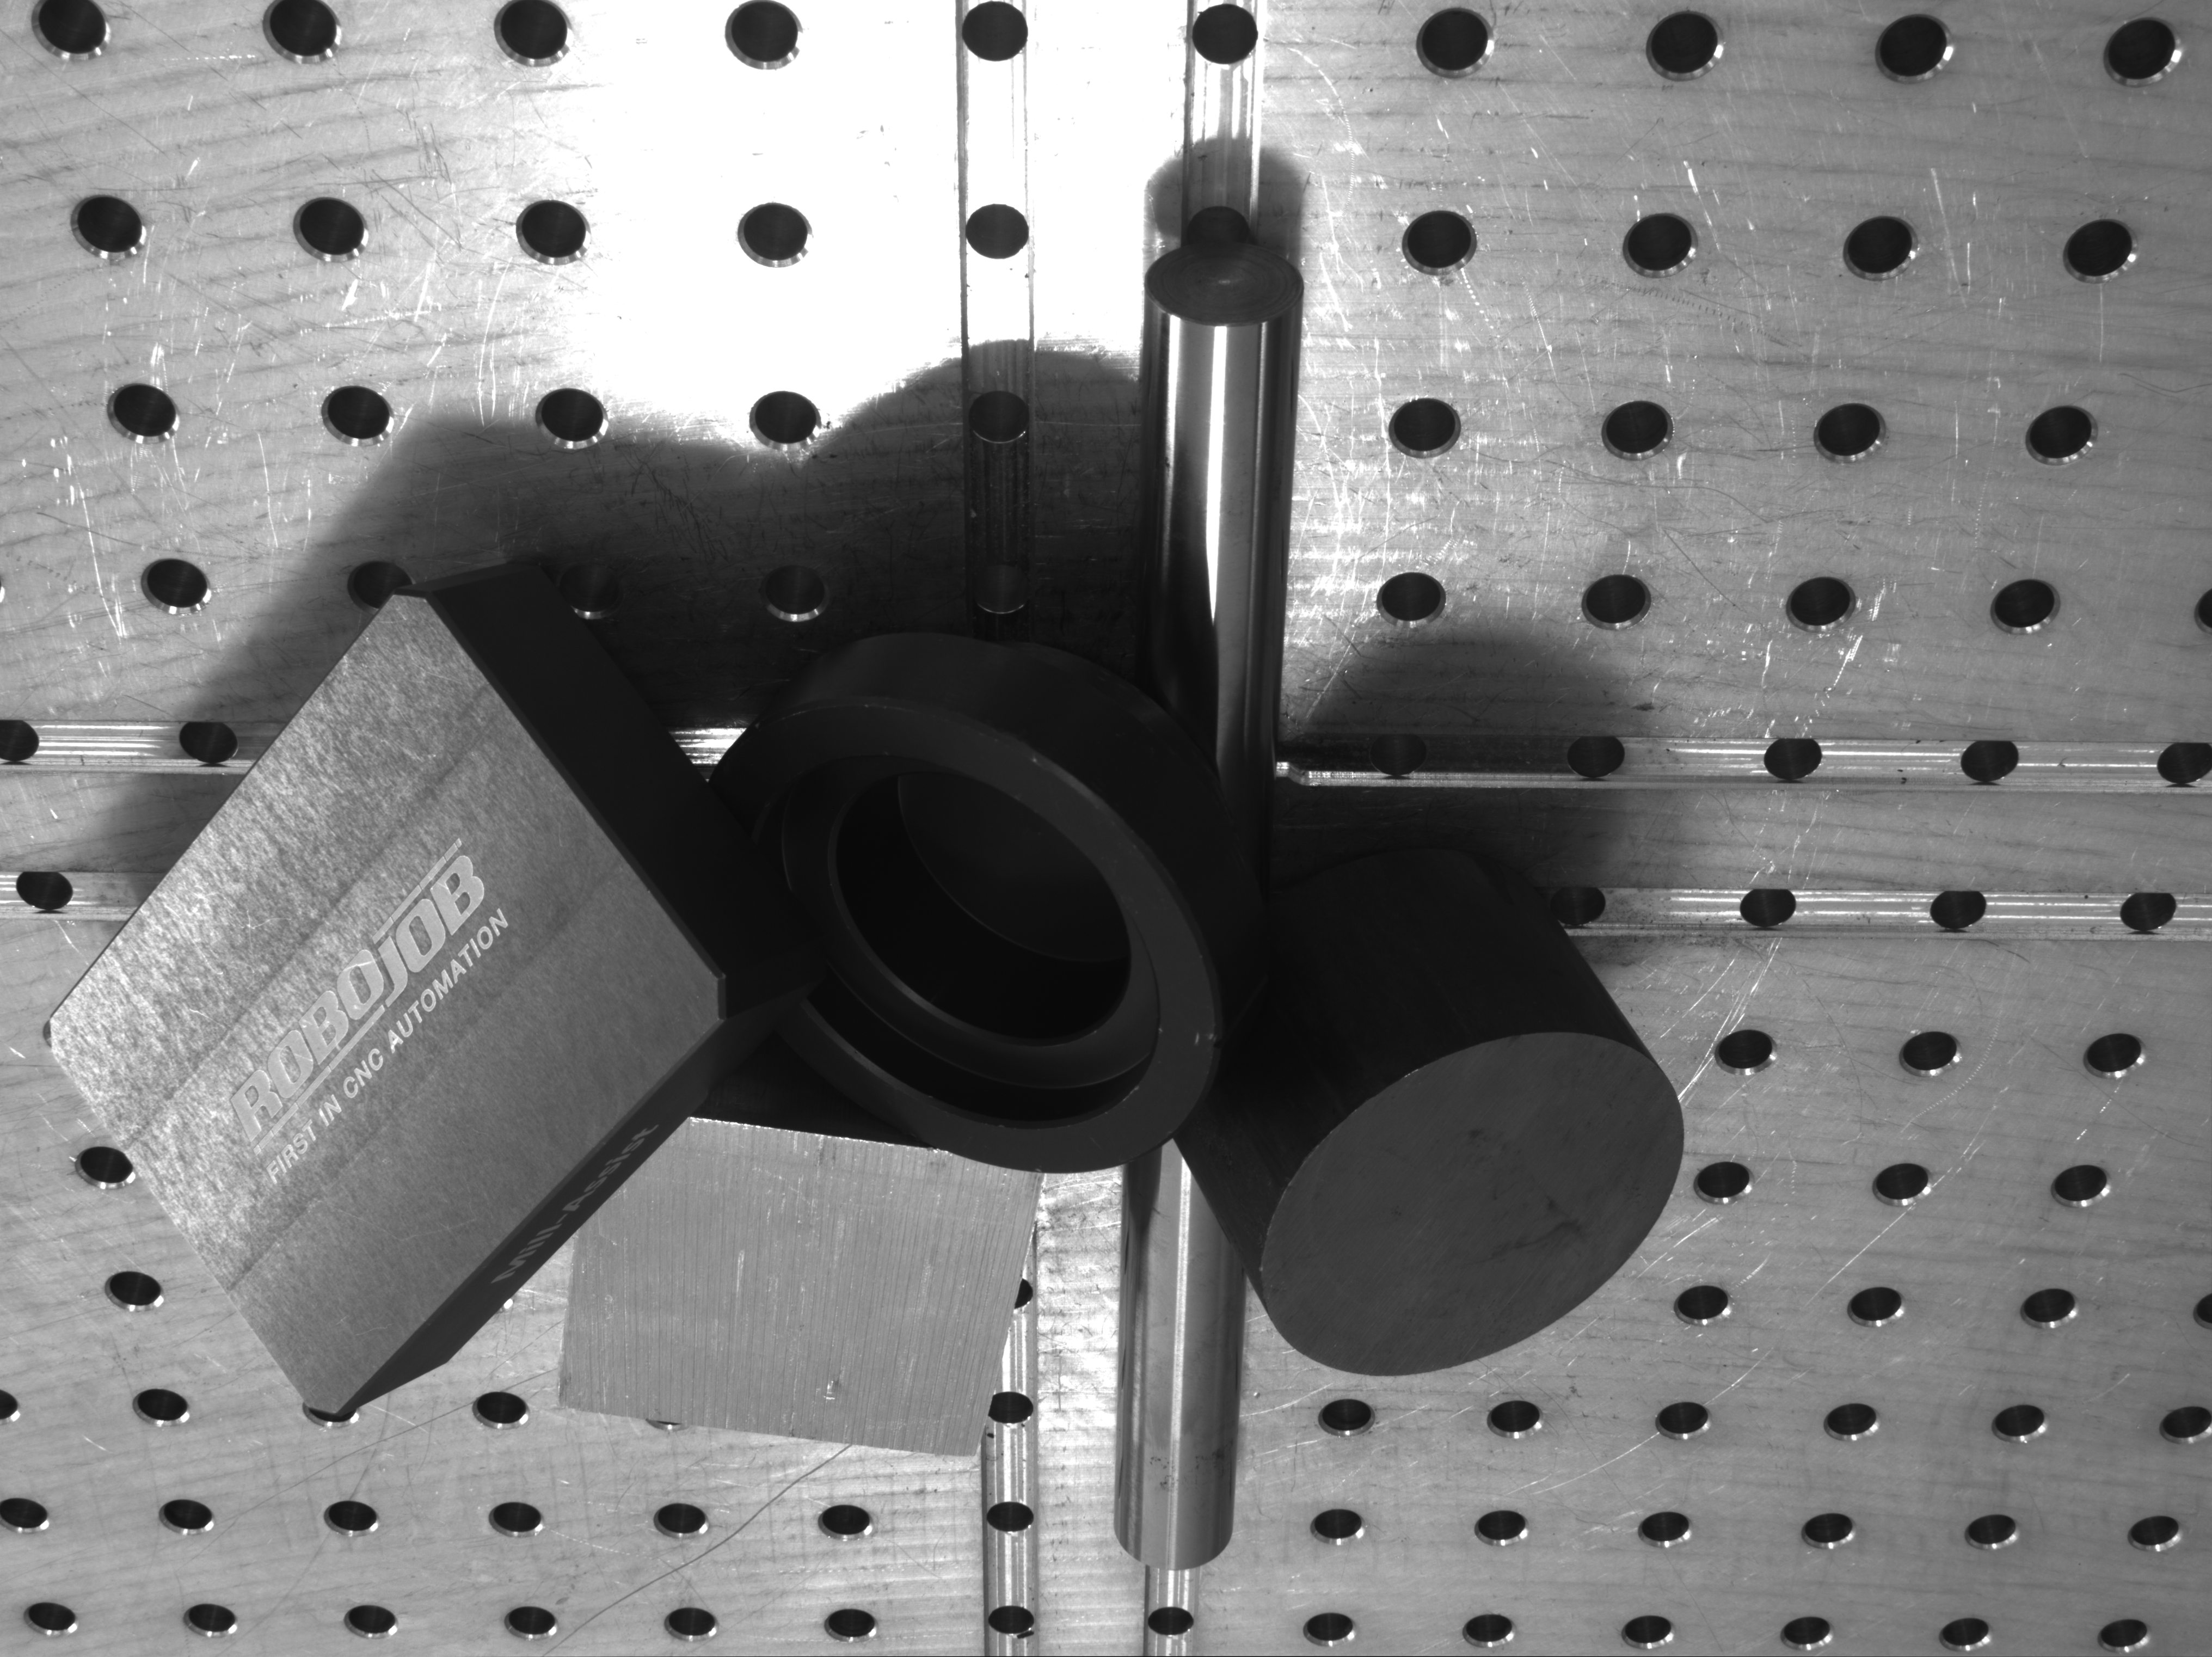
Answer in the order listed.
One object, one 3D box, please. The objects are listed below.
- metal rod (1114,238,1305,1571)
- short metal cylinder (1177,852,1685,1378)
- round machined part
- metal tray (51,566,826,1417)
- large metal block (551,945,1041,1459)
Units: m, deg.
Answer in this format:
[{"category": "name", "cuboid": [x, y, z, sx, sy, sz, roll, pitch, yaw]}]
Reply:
[{"category": "metal rod", "cuboid": [0.016, 0.030, 0.668, 0.025, 0.025, 0.300, 1, 130, -1]}, {"category": "short metal cylinder", "cuboid": [0.055, 0.051, 0.652, 0.080, 0.050, 0.080, -13, 132, -15]}, {"category": "round machined part", "cuboid": [-0.017, 0.008, 0.622, 0.098, 0.042, 0.098, 17, 132, 20]}, {"category": "metal tray", "cuboid": [-0.117, 0.029, 0.632, 0.090, 0.030, 0.130, 51, 121, 10]}, {"category": "large metal block", "cuboid": [-0.057, 0.067, 0.683, 0.080, 0.050, 0.080, 8, 130, -7]}]
